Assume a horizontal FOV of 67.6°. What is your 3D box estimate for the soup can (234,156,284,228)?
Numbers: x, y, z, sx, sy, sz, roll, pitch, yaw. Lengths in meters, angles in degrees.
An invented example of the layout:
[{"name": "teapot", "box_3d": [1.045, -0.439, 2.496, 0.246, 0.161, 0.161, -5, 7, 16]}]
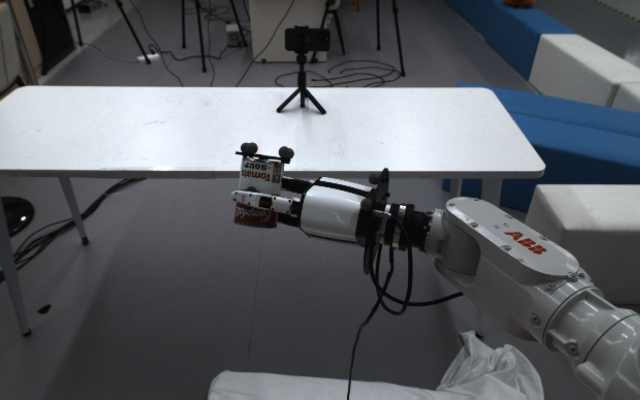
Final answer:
[{"name": "soup can", "box_3d": [-0.094, -0.011, 0.749, 0.067, 0.101, 0.067, 7, 4, 0]}]
